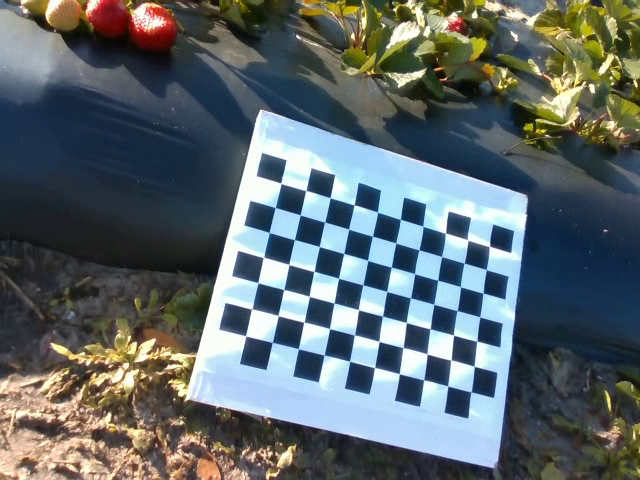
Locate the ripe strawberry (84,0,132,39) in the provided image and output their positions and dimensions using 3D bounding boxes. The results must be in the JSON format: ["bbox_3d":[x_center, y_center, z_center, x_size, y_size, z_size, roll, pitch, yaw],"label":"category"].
[{"bbox_3d":[-0.211,-0.220,0.652,0.050,0.044,0.061,40,25,-6],"label":"ripe strawberry"}]

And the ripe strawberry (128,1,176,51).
[{"bbox_3d":[-0.159,-0.209,0.658,0.056,0.052,0.067,-36,35,-20],"label":"ripe strawberry"}]
